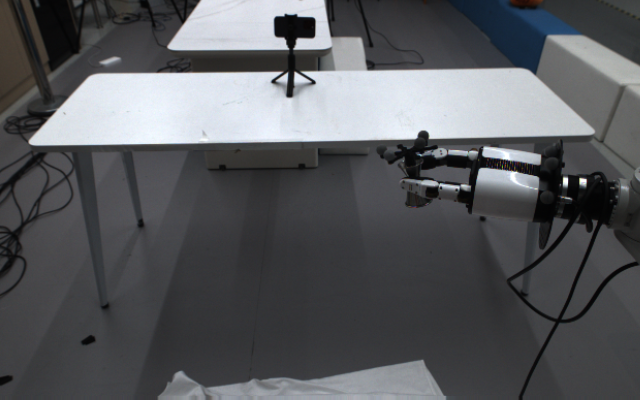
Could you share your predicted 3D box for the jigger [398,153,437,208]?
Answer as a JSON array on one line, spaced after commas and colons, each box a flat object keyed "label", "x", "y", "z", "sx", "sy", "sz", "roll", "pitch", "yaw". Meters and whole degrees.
[{"label": "jigger", "x": 0.148, "y": -0.028, "z": 0.754, "sx": 0.043, "sy": 0.071, "sz": 0.043, "roll": -14, "pitch": 21, "yaw": 6}]
